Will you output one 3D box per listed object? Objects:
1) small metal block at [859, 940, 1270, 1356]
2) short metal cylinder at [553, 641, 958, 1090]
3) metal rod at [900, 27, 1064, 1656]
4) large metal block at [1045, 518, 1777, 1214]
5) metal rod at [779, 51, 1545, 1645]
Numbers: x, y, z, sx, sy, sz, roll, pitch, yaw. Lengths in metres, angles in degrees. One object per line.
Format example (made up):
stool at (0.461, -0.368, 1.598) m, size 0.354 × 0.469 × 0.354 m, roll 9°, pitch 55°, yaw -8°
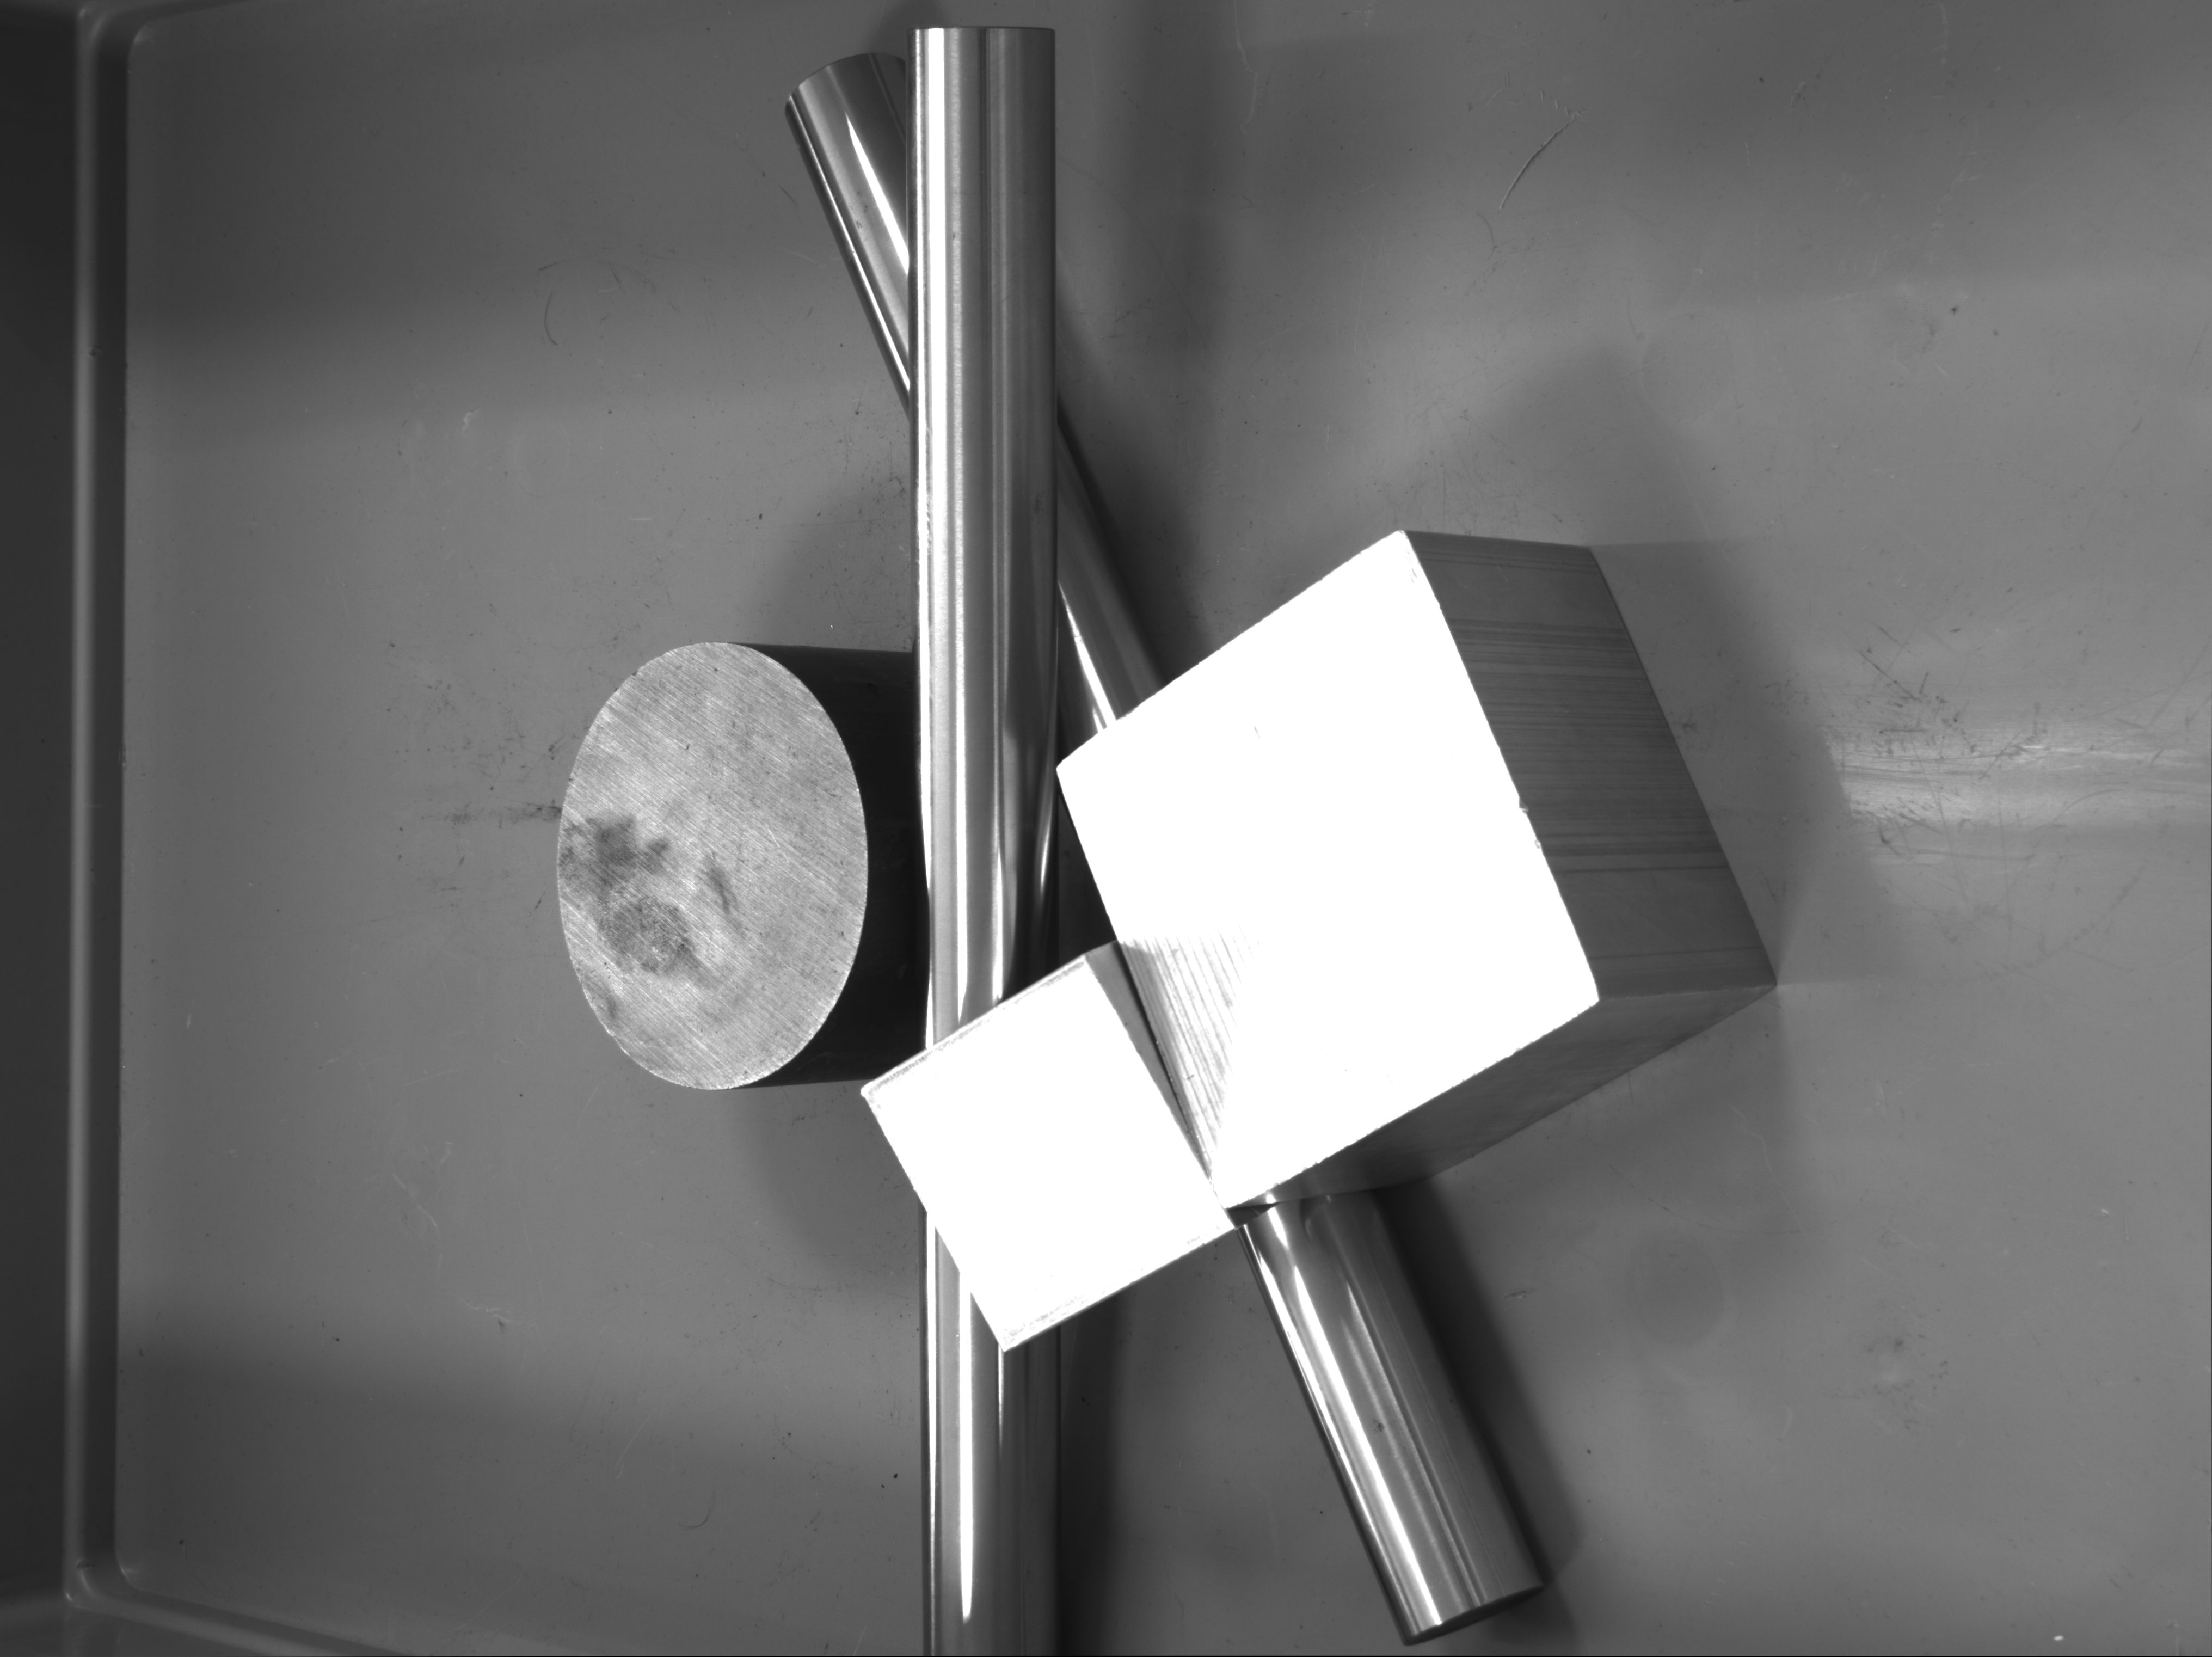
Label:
small metal block at (-0.004, 0.051, 0.606) m, size 0.050 × 0.025 × 0.050 m, roll -32°, pitch 85°, yaw 27°
short metal cylinder at (-0.056, 0.007, 0.675) m, size 0.080 × 0.050 × 0.080 m, roll 0°, pitch 90°, yaw 40°
metal rod at (-0.021, 0.015, 0.636) m, size 0.025 × 0.025 × 0.300 m, roll 8°, pitch 103°, yaw 40°
large metal block at (0.047, 0.007, 0.587) m, size 0.080 × 0.050 × 0.080 m, roll -34°, pitch 69°, yaw 35°
metal rod at (0.005, -0.005, 0.639) m, size 0.025 × 0.025 × 0.300 m, roll -35°, pitch 69°, yaw 35°
